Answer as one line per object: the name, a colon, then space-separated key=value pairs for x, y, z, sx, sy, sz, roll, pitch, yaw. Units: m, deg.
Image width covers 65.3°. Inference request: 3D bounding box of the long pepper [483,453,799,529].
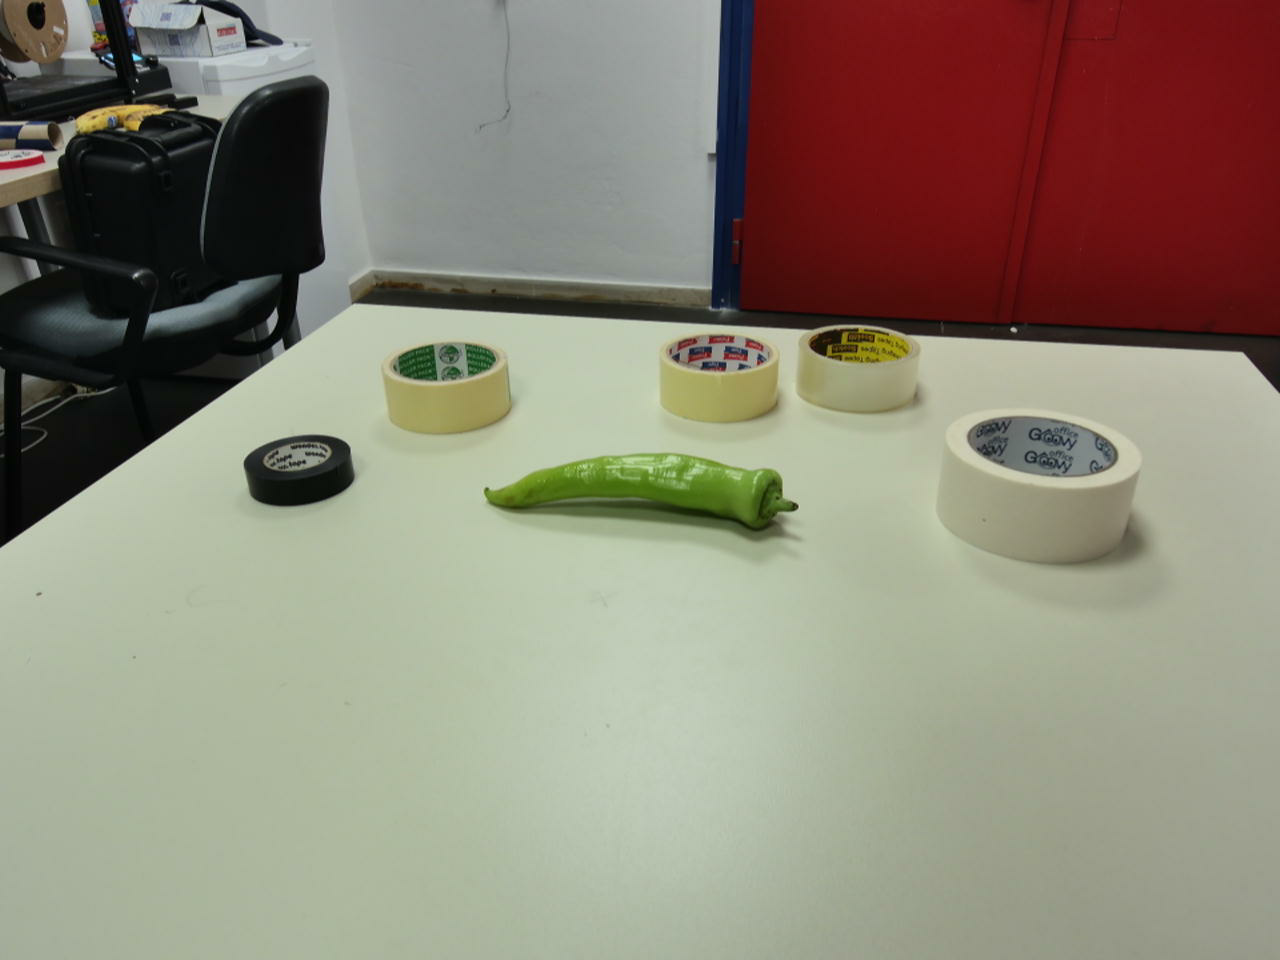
long pepper: x=0.000 y=0.002 z=0.611 sx=0.197 sy=0.038 sz=0.046 roll=6 pitch=27 yaw=13
